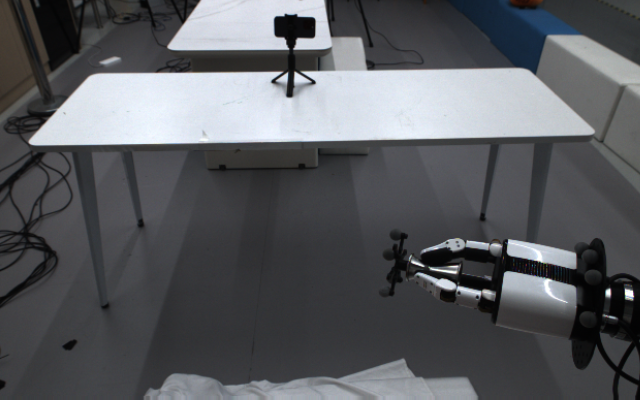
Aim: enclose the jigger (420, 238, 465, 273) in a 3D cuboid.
[{"bbox_3d":[0.160,0.094,0.654,0.071,0.043,0.043,10,35,22],"label":"jigger"}]
